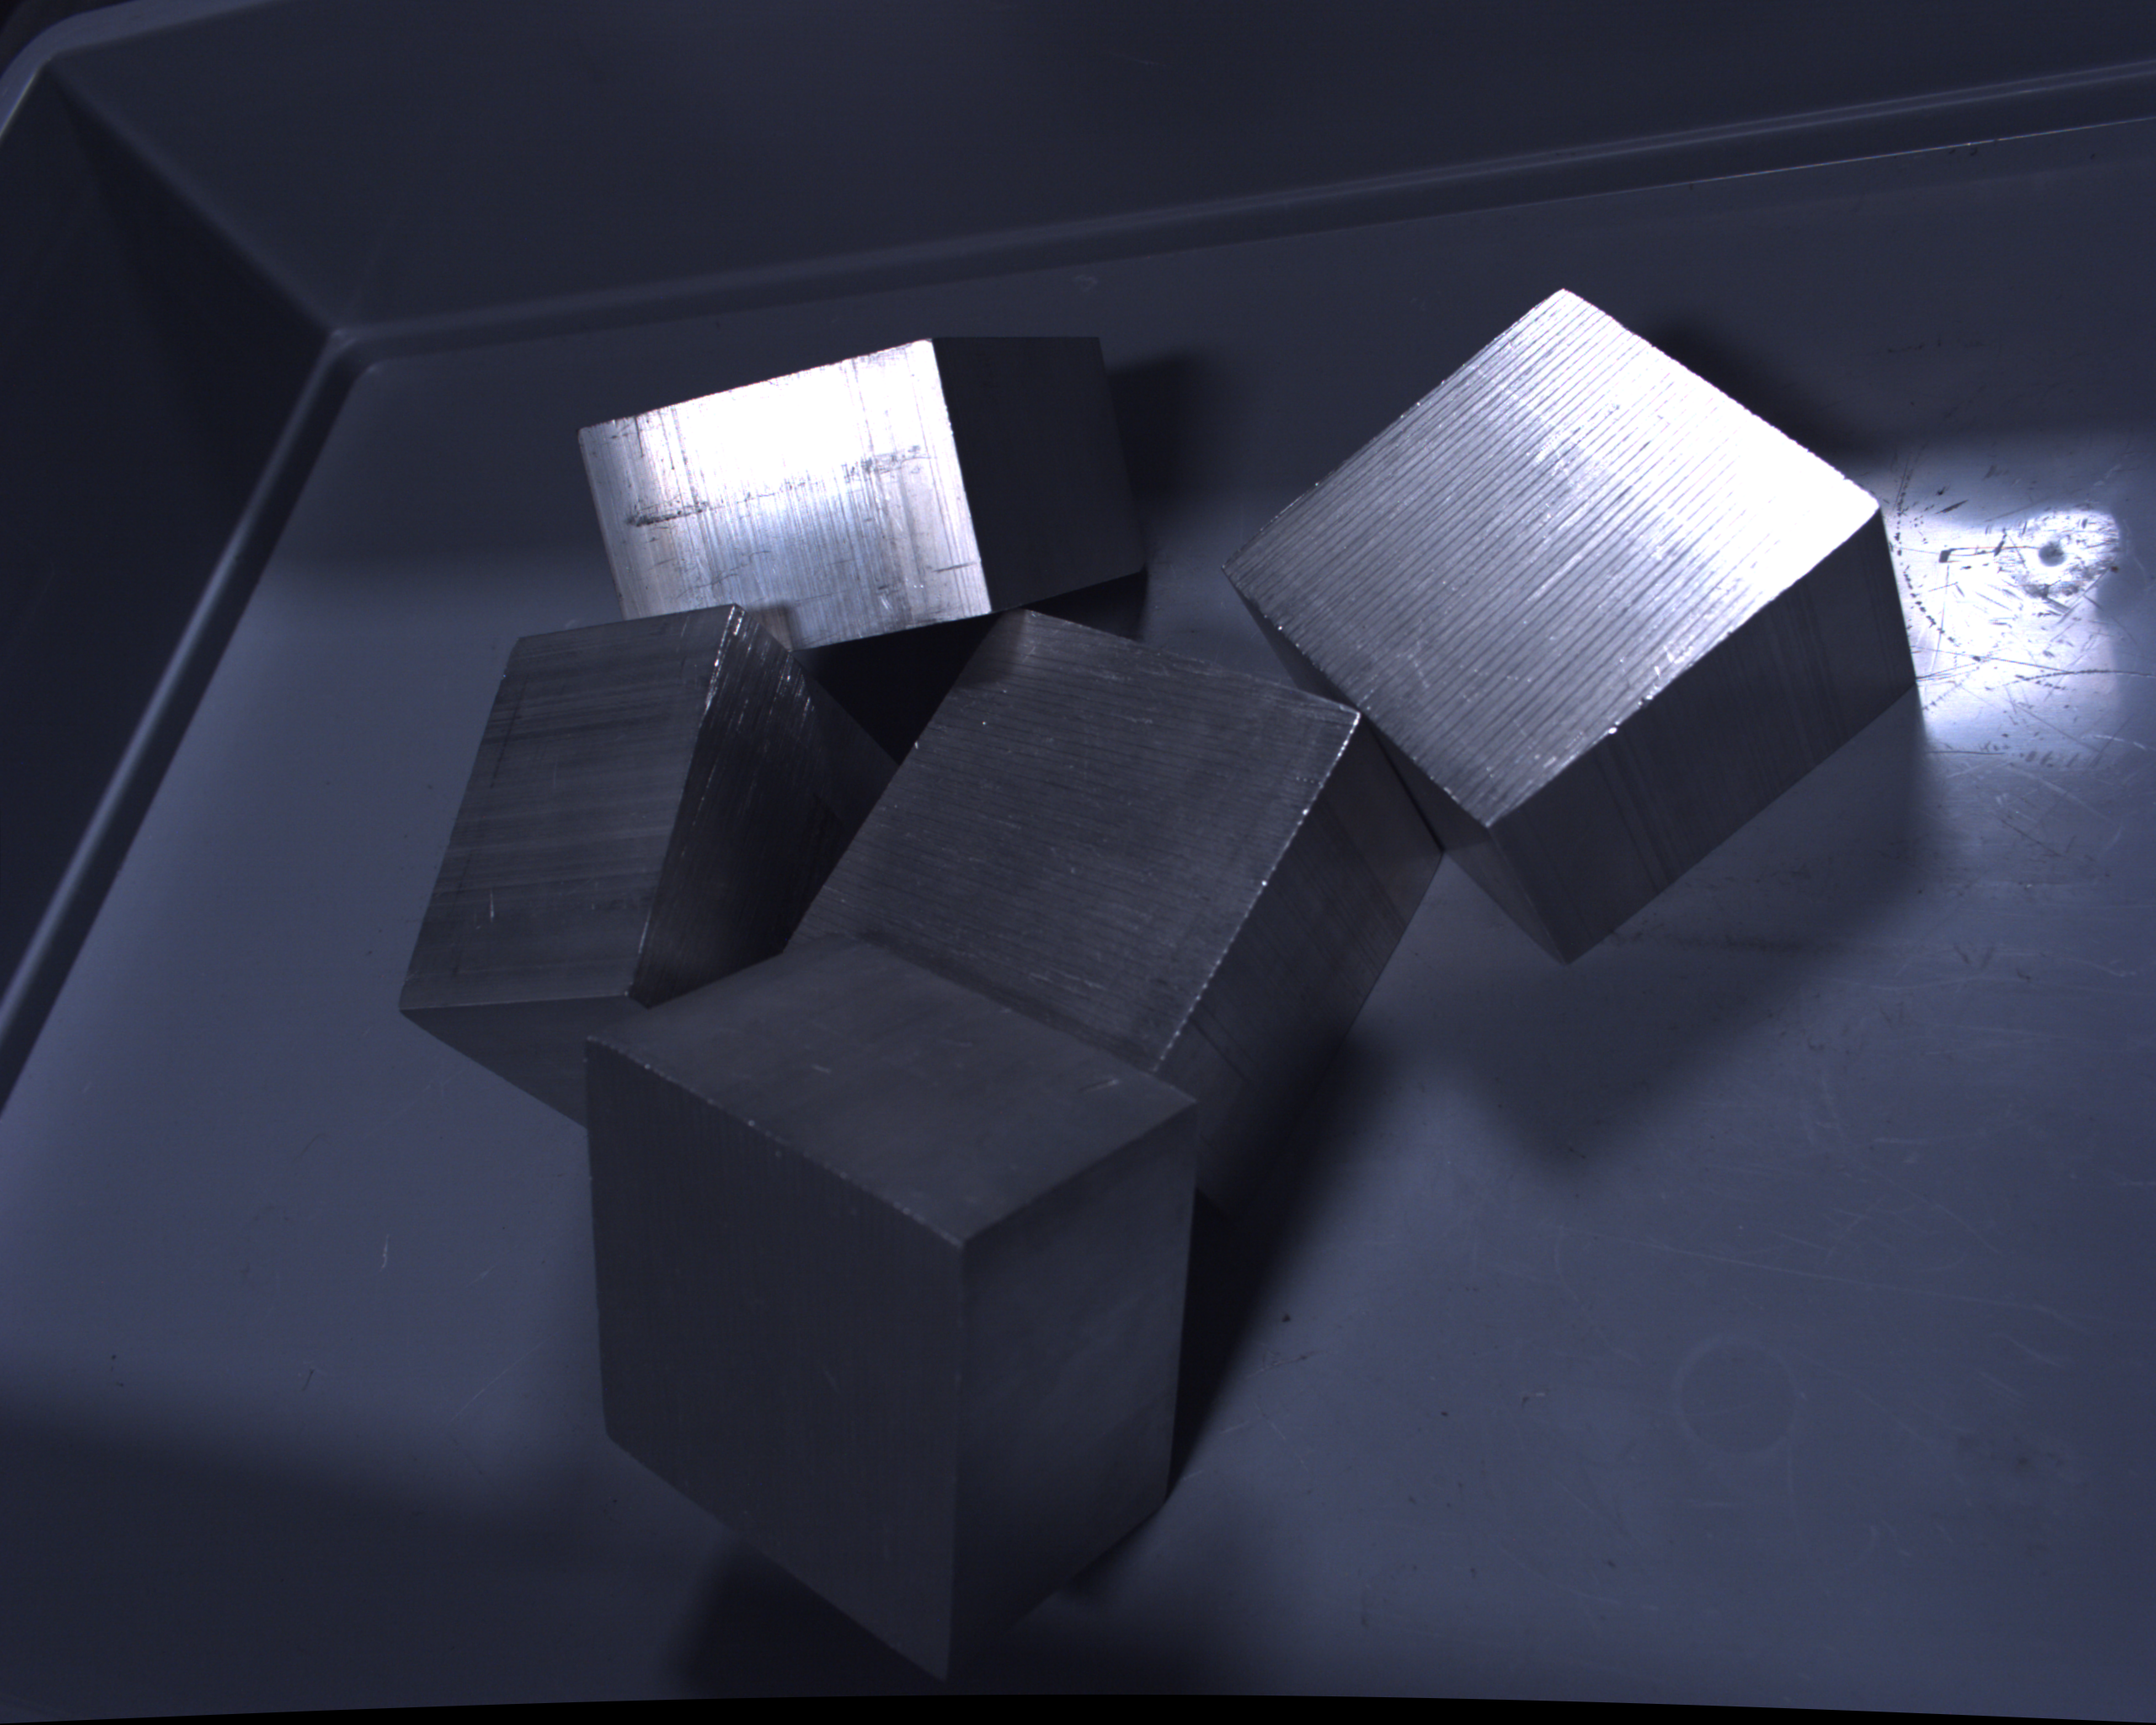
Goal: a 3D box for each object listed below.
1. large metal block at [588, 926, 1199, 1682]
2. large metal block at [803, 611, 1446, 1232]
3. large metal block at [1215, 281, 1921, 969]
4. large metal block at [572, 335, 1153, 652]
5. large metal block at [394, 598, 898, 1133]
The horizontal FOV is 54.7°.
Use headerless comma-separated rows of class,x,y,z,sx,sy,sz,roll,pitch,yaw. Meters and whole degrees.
large metal block,-0.031,0.067,0.334,0.080,0.079,0.050,22,31,34
large metal block,0.007,0.008,0.379,0.080,0.050,0.080,21,73,35
large metal block,0.085,-0.043,0.368,0.080,0.050,0.080,-39,51,1
large metal block,-0.041,-0.074,0.426,0.080,0.080,0.050,-8,100,25
large metal block,-0.074,0.008,0.401,0.050,0.080,0.080,-5,59,25
